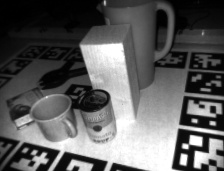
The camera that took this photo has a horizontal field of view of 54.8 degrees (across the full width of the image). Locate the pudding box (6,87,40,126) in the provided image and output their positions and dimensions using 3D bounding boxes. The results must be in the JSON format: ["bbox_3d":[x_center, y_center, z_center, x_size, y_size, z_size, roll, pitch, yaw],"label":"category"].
[{"bbox_3d":[-0.235,0.050,0.596,0.090,0.039,0.112,-31,41,-19],"label":"pudding box"}]

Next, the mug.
[{"bbox_3d":[-0.122,0.071,0.501,0.094,0.082,0.115,-28,40,-23],"label":"mug"}]

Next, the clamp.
[{"bbox_3d":[-0.162,-0.046,0.707,0.166,0.037,0.120,-36,51,-27],"label":"clamp"}]

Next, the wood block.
[{"bbox_3d":[0.005,-0.039,0.503,0.089,0.208,0.091,5,41,15],"label":"wood block"}]

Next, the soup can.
[{"bbox_3d":[-0.031,0.057,0.477,0.067,0.103,0.067,-8,40,7],"label":"soup can"}]

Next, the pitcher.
[{"bbox_3d":[0.064,-0.125,0.572,0.187,0.244,0.133,2,38,21],"label":"pitcher"}]
